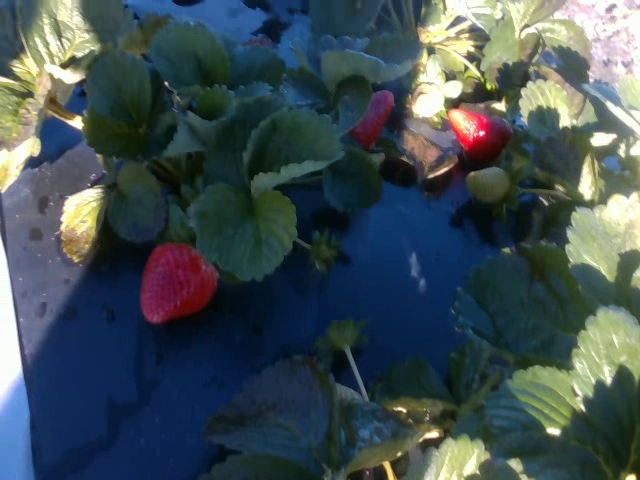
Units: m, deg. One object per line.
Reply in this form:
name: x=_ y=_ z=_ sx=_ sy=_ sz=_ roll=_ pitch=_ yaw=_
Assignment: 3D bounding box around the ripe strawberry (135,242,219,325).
ripe strawberry: x=-0.081 y=0.025 z=0.328 sx=0.045 sy=0.059 sz=0.042 roll=-5 pitch=-43 yaw=35
